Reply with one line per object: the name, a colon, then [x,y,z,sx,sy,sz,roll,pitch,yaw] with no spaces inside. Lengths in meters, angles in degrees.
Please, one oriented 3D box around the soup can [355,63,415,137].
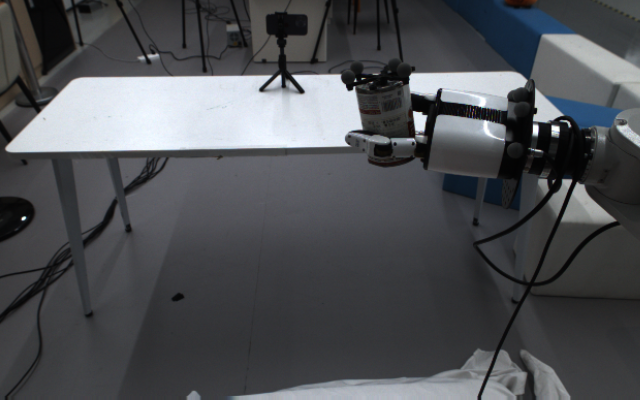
soup can: [0.088,-0.102,0.616,0.067,0.101,0.067,-11,27,6]
